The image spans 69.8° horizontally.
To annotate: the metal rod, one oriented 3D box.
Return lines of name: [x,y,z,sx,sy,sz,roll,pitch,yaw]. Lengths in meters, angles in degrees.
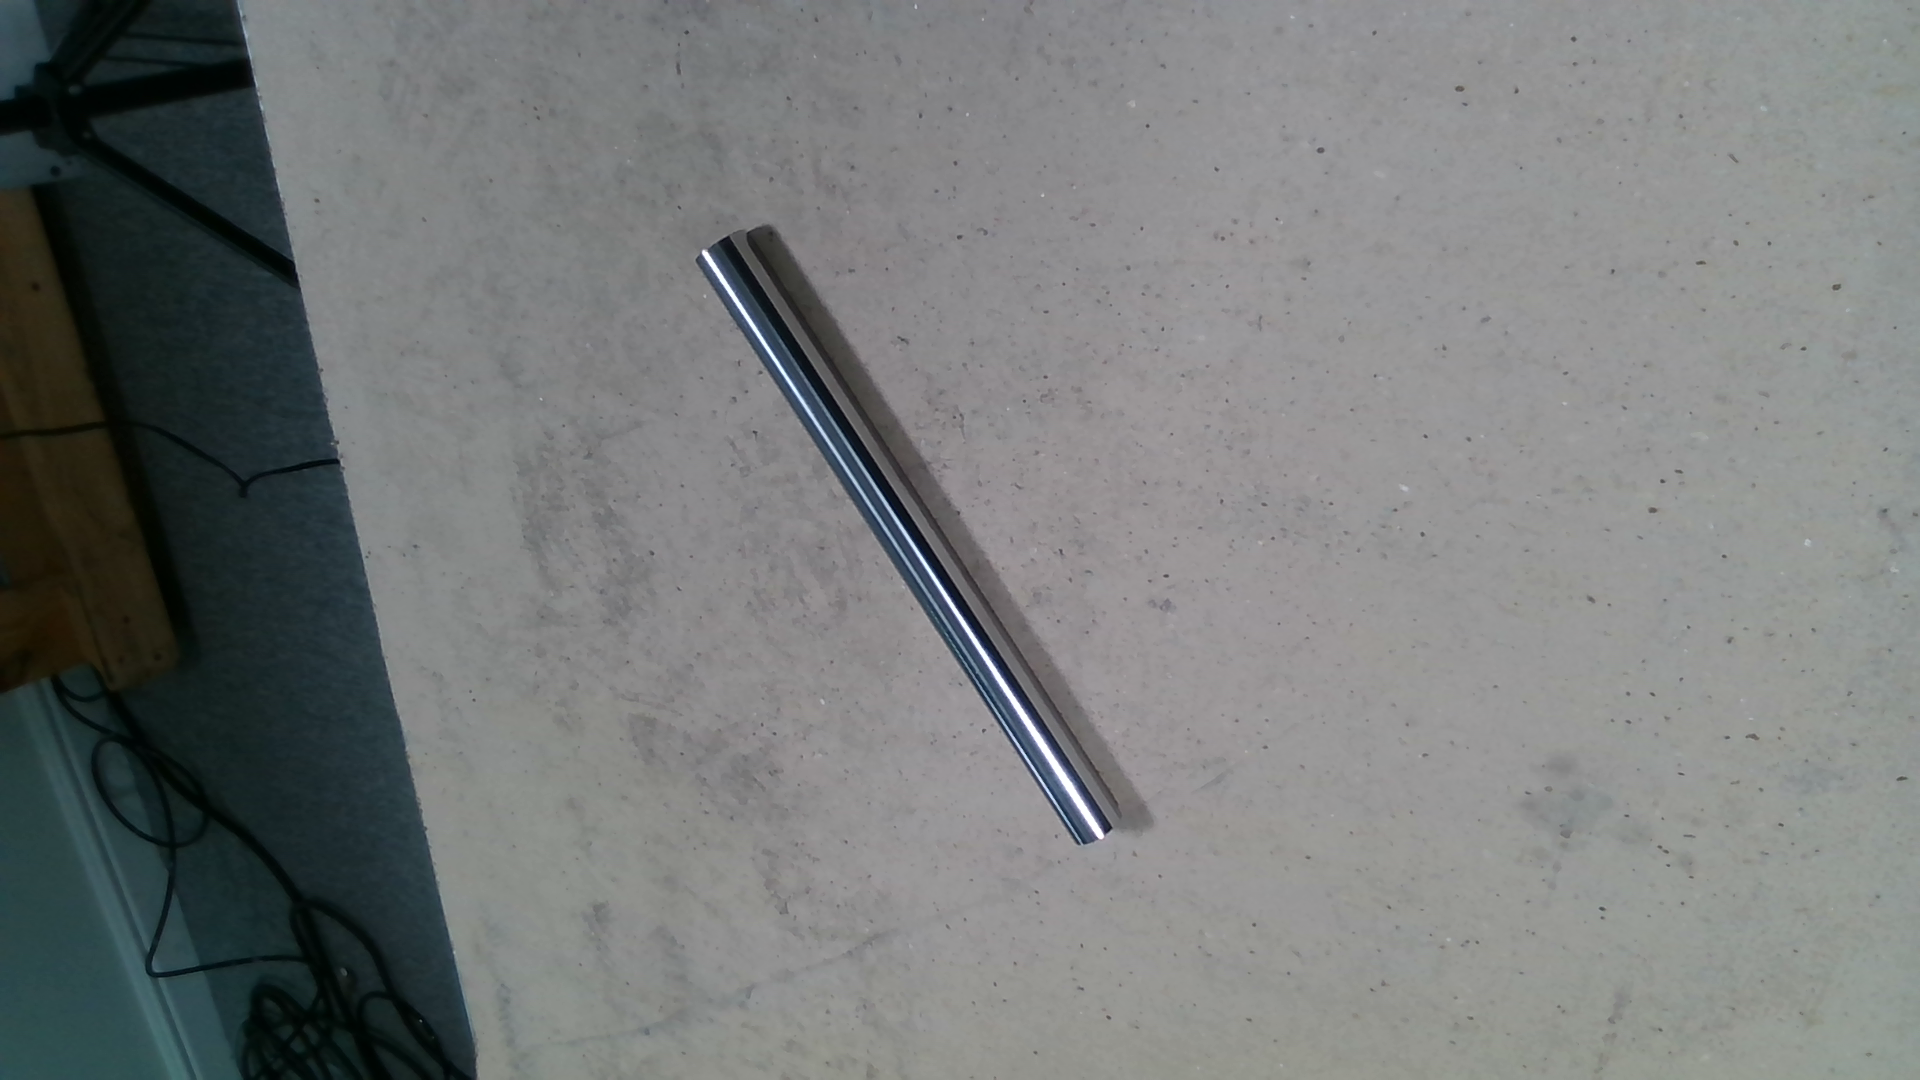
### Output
metal rod: [-0.019,0.002,0.593,0.025,0.025,0.300,-27,100,38]
